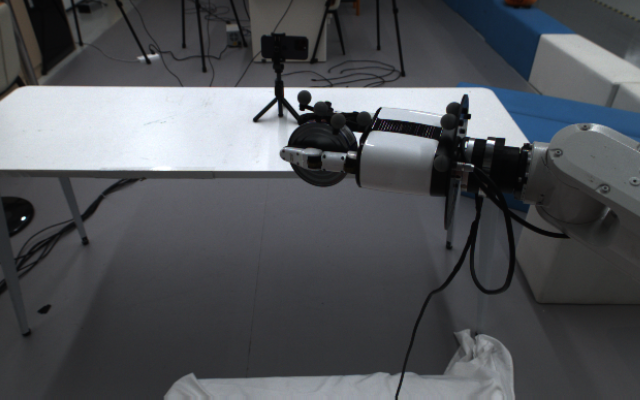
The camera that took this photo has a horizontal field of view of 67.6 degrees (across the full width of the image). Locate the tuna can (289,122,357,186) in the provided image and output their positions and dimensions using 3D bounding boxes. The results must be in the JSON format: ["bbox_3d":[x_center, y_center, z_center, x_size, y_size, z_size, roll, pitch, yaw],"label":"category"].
[{"bbox_3d":[0.006,-0.063,0.614,0.085,0.085,0.034,16,28,19],"label":"tuna can"}]
